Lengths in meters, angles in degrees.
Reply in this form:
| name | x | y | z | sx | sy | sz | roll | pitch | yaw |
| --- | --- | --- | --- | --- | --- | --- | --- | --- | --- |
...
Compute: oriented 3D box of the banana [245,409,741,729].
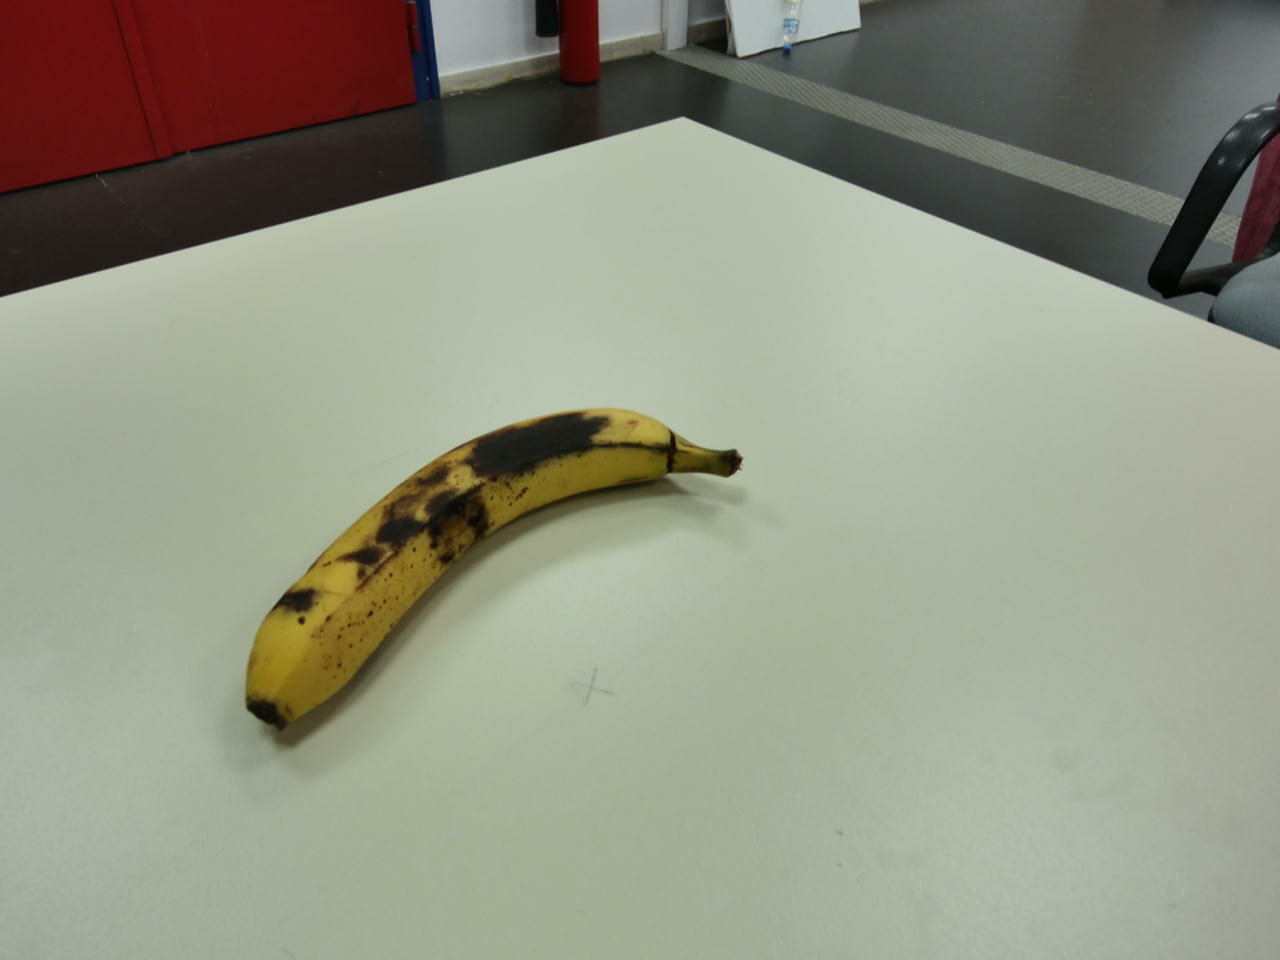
| name | x | y | z | sx | sy | sz | roll | pitch | yaw |
| --- | --- | --- | --- | --- | --- | --- | --- | --- | --- |
| banana | -0.064 | 0.016 | 0.403 | 0.222 | 0.037 | 0.084 | -26 | 44 | -31 |
